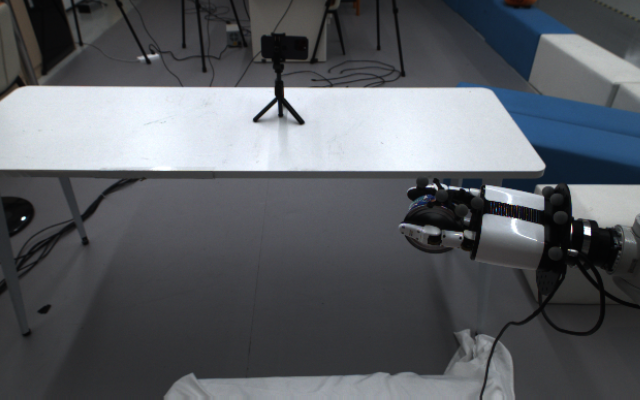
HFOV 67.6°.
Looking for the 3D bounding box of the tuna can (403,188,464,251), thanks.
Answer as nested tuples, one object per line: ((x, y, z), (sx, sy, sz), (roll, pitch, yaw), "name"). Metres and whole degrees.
((0.169, 0.032, 0.708), (0.085, 0.085, 0.034), (12, 33, 14), "tuna can")
